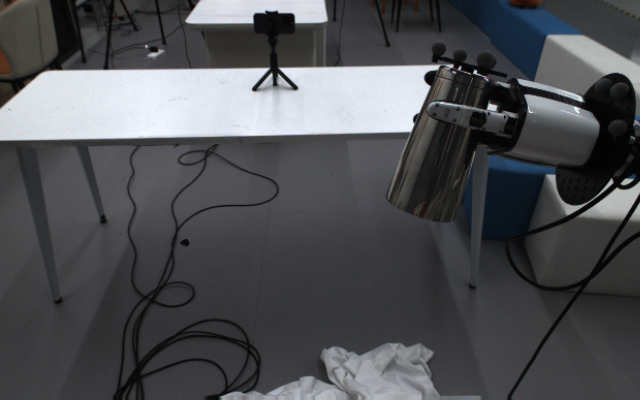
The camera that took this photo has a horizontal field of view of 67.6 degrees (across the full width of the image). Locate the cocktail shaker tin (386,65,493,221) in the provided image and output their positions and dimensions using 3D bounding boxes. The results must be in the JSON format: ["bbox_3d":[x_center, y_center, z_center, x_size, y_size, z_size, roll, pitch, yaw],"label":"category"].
[{"bbox_3d":[0.150,-0.072,0.592,0.093,0.170,0.093,14,18,-5],"label":"cocktail shaker tin"}]
